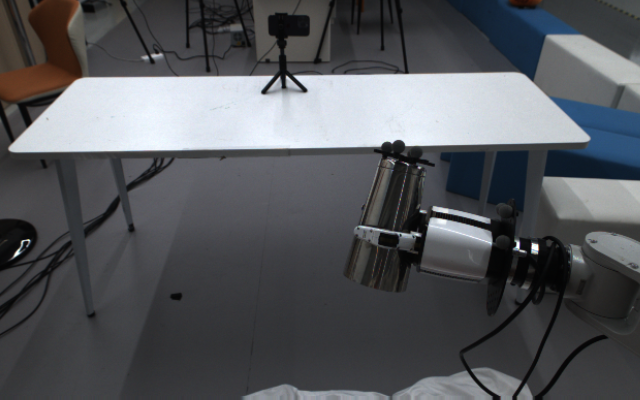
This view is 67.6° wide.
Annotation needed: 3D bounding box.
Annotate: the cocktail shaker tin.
[{"bbox_3d":[0.097,0.032,0.678,0.093,0.170,0.093,13,4,-1],"label":"cocktail shaker tin"}]
